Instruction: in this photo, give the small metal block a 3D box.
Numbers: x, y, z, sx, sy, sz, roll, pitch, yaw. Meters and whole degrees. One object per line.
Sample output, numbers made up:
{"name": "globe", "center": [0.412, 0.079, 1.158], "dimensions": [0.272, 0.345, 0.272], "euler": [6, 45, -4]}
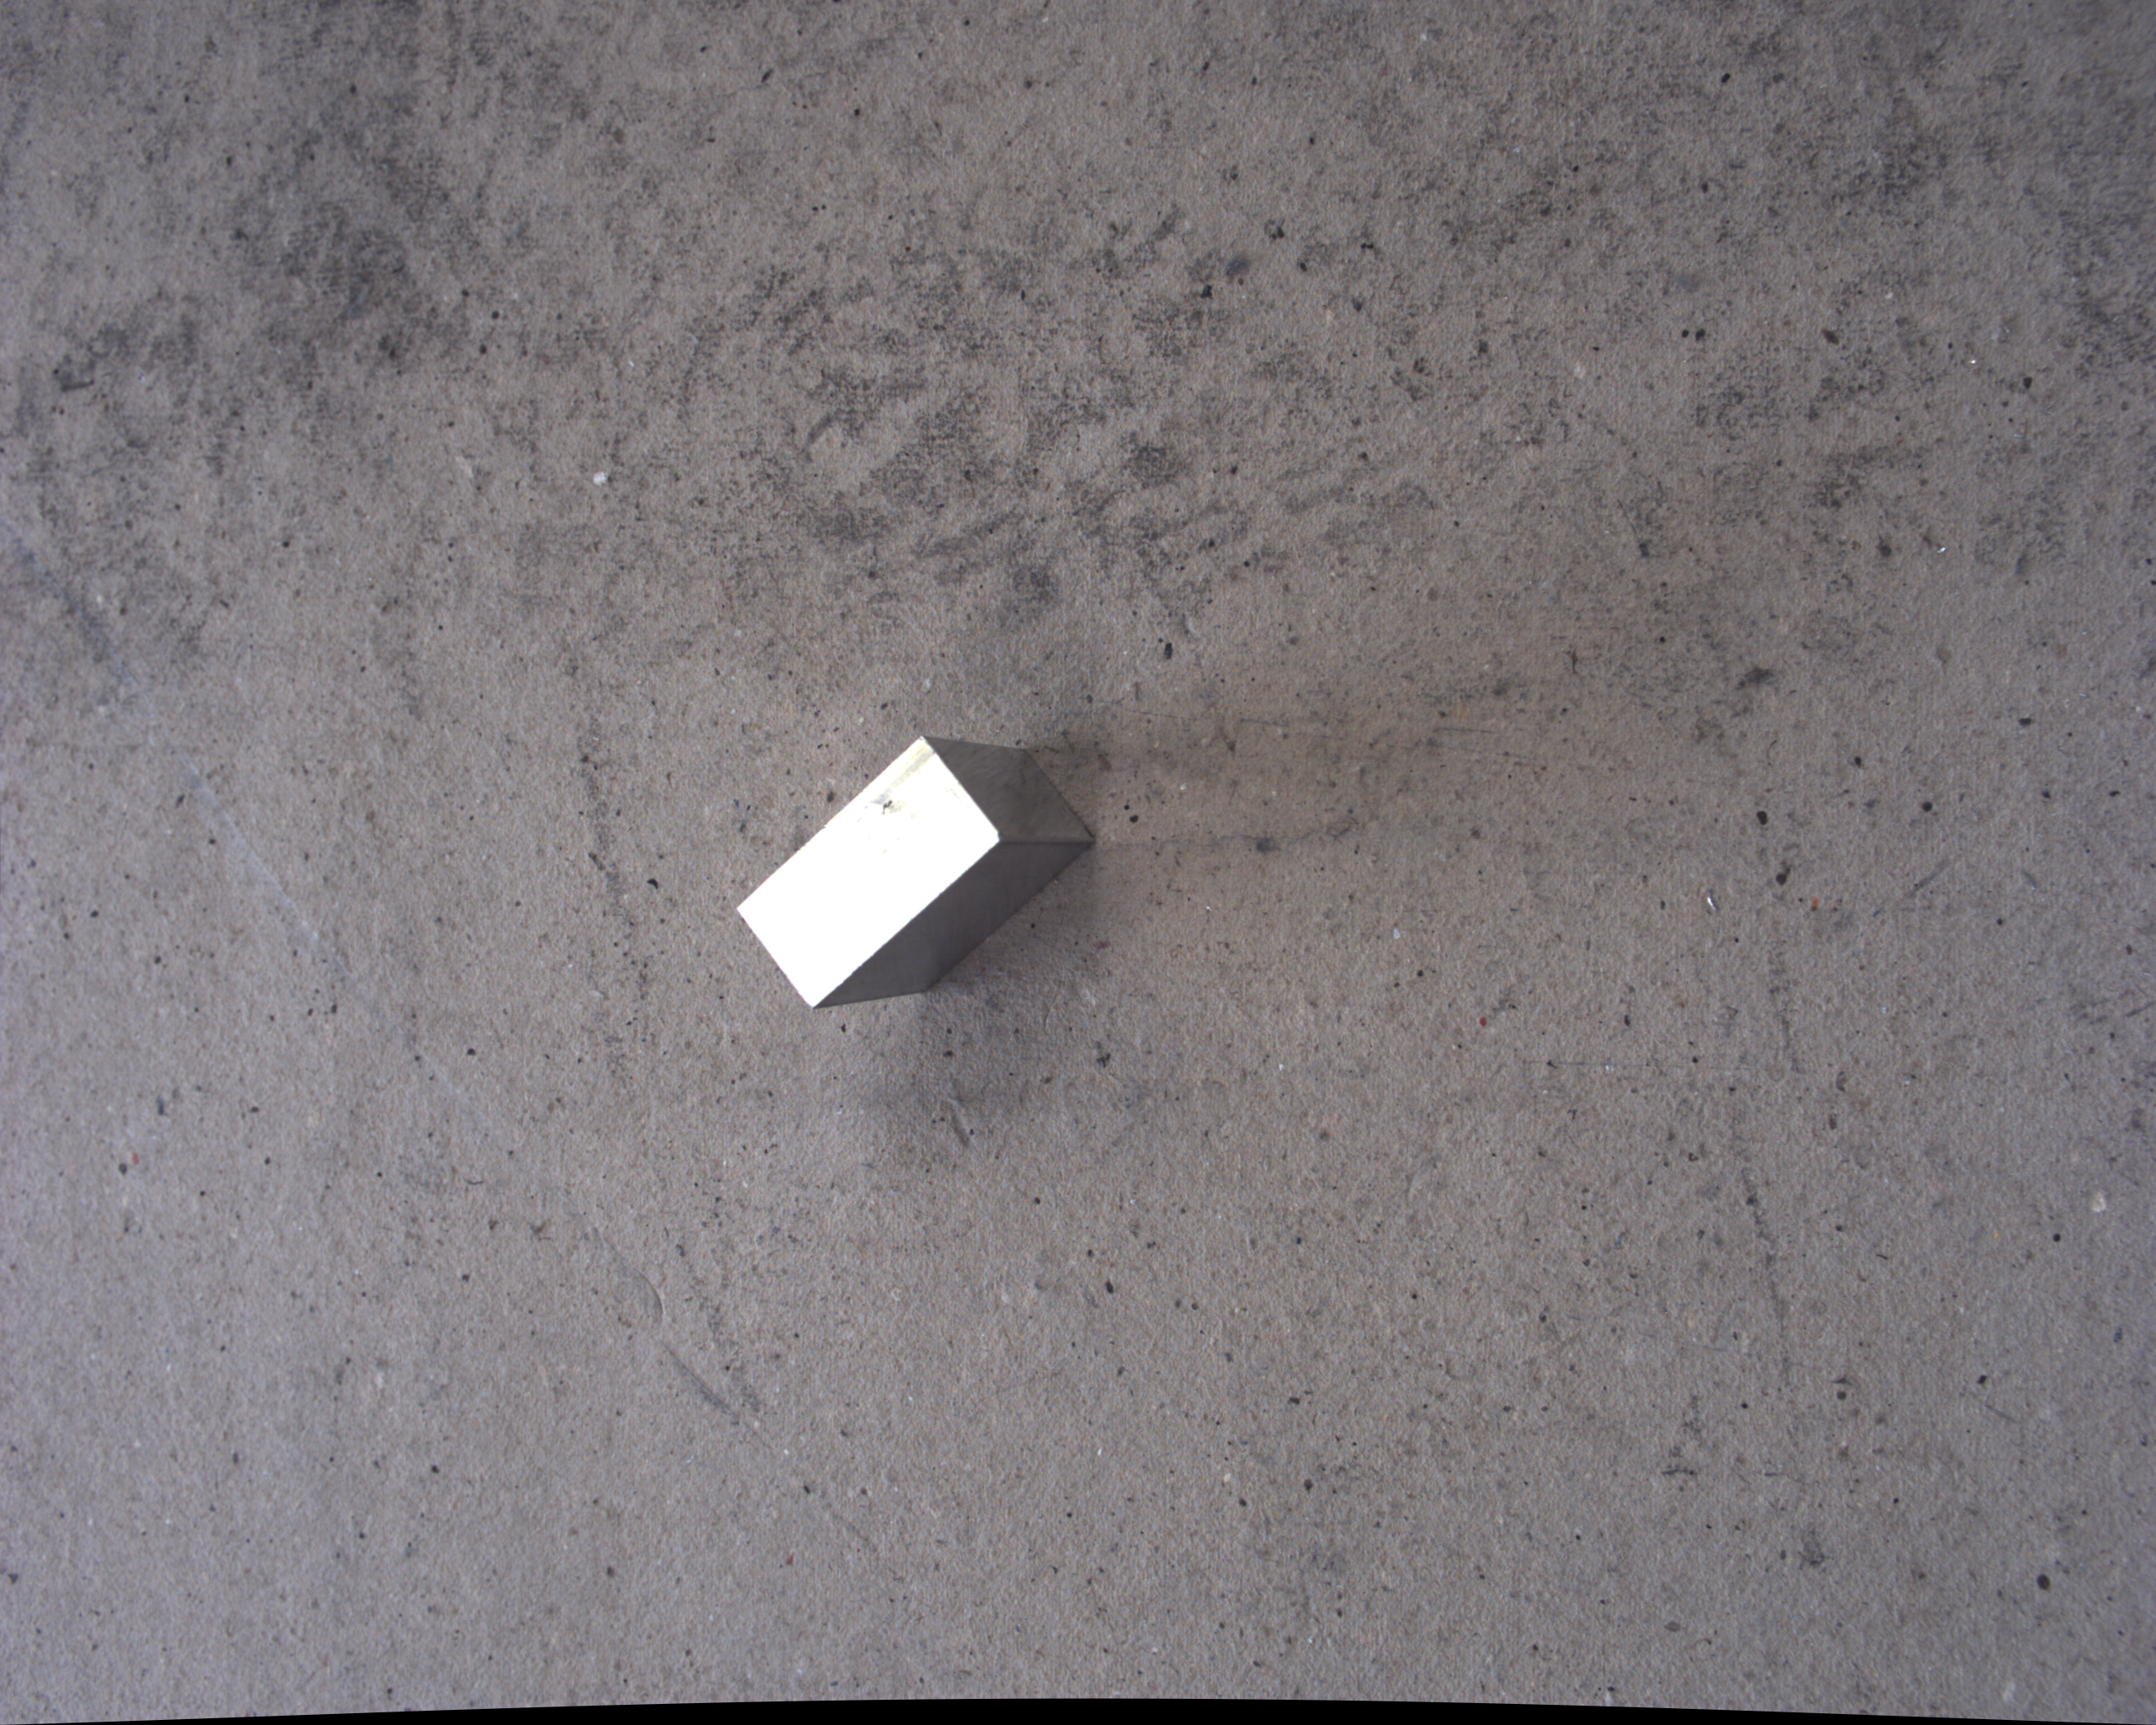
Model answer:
{"name": "small metal block", "center": [-0.030, 0.002, 0.408], "dimensions": [0.050, 0.050, 0.025], "euler": [-42, 77, 15]}
